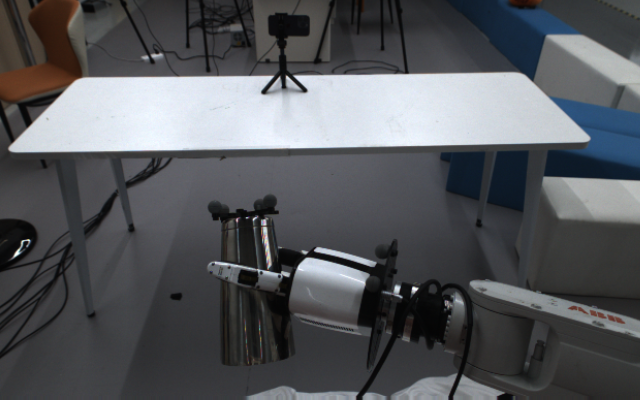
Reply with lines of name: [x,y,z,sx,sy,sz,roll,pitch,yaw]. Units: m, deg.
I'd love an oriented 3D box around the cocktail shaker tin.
cocktail shaker tin: [-0.084,0.111,0.605,0.093,0.170,0.093,-6,-7,-1]
